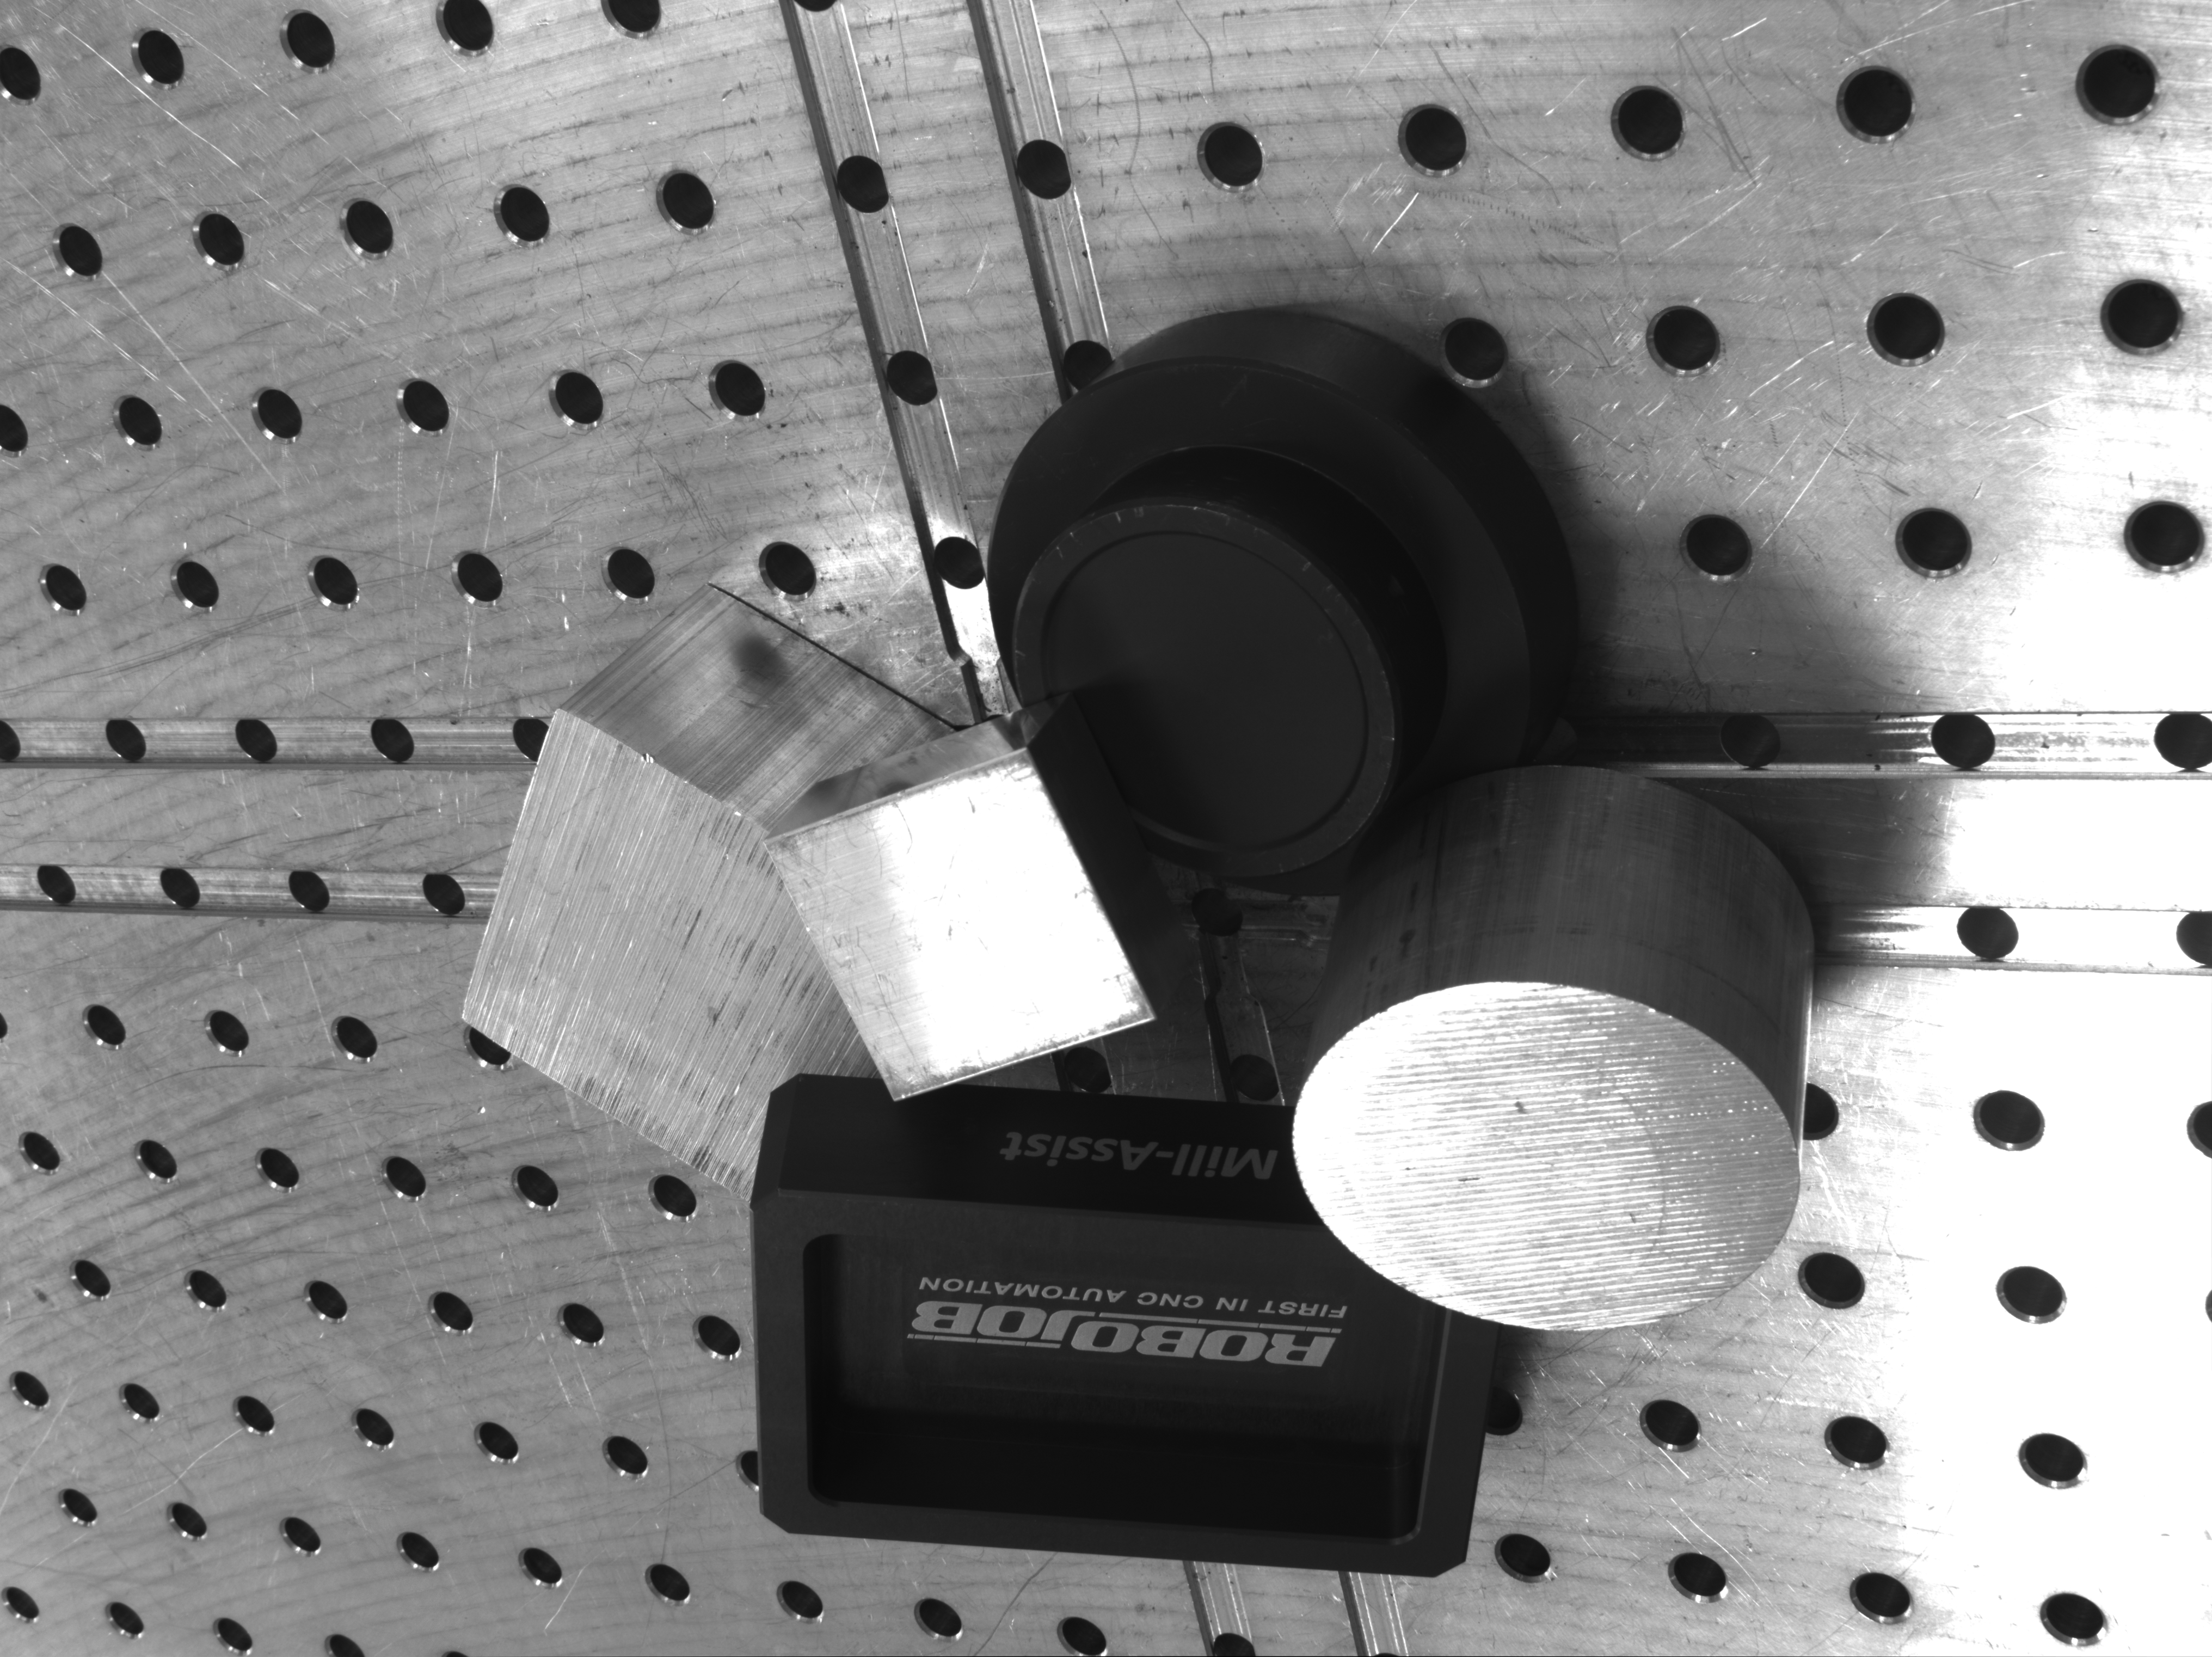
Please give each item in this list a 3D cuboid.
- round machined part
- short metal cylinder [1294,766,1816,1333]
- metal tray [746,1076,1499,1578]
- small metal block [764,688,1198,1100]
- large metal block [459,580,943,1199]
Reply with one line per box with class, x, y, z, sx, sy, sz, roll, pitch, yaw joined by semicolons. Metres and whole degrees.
round machined part;0.024;-0.031;0.603;0.098;0.042;0.098;13;124;21
short metal cylinder;0.074;0.037;0.598;0.080;0.050;0.080;7;133;8
metal tray;0.003;0.091;0.660;0.130;0.030;0.090;4;130;1
small metal block;-0.020;0.011;0.604;0.050;0.025;0.050;-18;106;24
large metal block;-0.063;0.015;0.673;0.080;0.050;0.080;31;128;8
